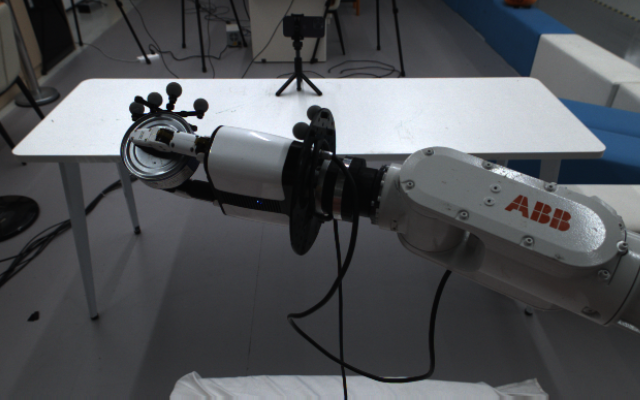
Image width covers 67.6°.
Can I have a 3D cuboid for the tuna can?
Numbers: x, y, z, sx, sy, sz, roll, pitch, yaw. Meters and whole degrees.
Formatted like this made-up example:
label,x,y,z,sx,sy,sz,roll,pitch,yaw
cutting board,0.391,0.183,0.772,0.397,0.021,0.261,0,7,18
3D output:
label,x,y,z,sx,sy,sz,roll,pitch,yaw
tuna can,-0.180,-0.055,0.561,0.085,0.034,0.085,-2,69,6
